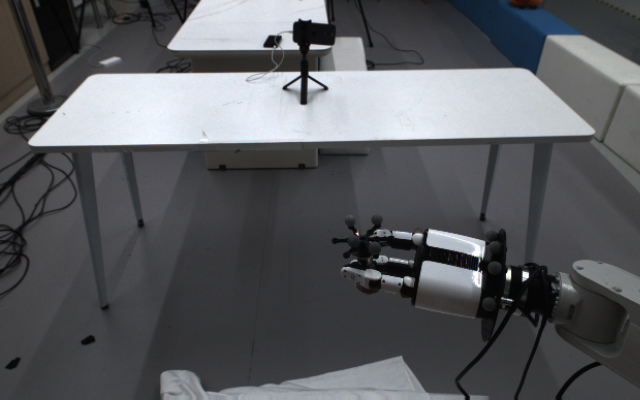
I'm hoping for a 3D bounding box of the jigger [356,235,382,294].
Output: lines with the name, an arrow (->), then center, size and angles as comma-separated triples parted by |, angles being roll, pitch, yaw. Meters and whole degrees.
jigger -> 0.071, 0.097, 0.721 | 0.043, 0.071, 0.043 | -9, 31, 5
